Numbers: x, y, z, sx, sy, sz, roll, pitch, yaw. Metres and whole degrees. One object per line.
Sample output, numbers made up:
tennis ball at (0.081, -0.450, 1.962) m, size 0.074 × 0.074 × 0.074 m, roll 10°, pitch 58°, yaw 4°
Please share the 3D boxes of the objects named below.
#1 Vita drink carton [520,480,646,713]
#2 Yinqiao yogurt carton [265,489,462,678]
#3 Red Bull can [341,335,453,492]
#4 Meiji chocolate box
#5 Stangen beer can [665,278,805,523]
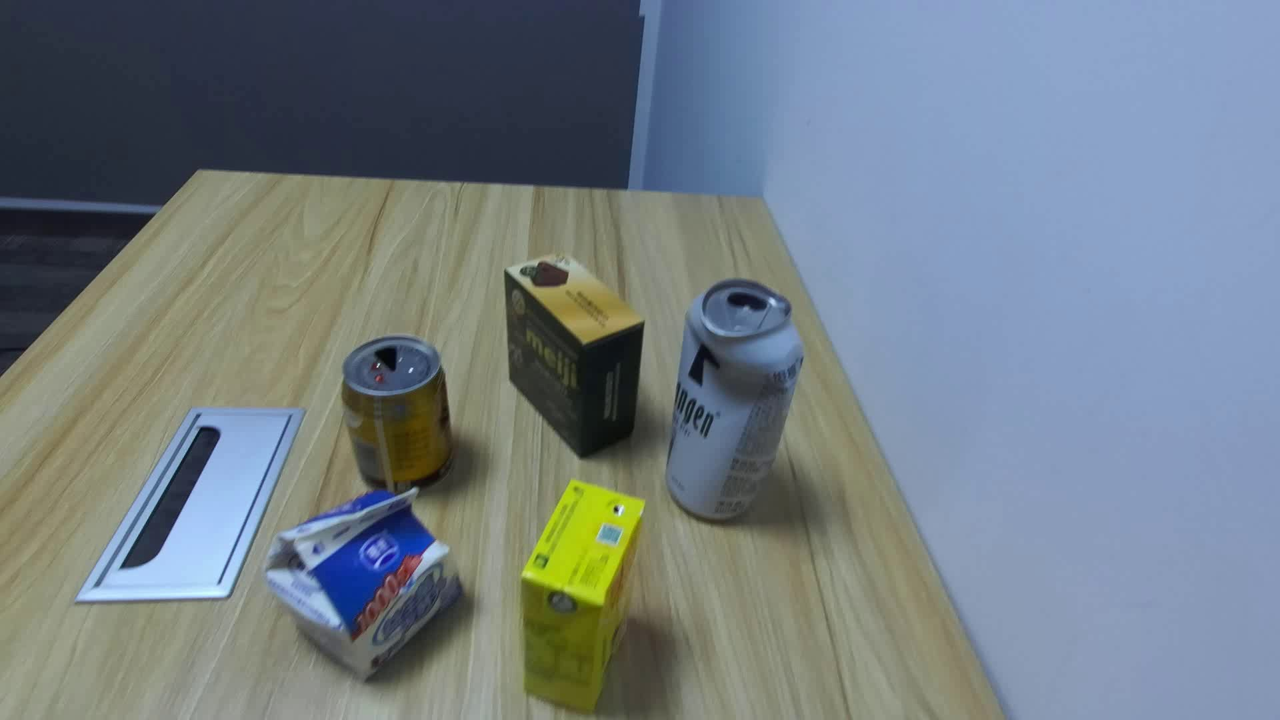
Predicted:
Vita drink carton at (-0.030, 0.126, 0.372) m, size 0.043 × 0.109 × 0.066 m, roll 14°, pitch 39°, yaw 10°
Yinqiao yogurt carton at (-0.153, 0.109, 0.386) m, size 0.077 × 0.093 × 0.083 m, roll 26°, pitch 41°, yaw 24°
Red Bull can at (-0.163, 0.038, 0.479) m, size 0.069 × 0.092 × 0.069 m, roll 5°, pitch 38°, yaw -3°
Meiji chocolate box at (-0.051, -0.005, 0.533) m, size 0.056 × 0.109 × 0.109 m, roll -22°, pitch 46°, yaw -31°
Stangen beer can at (0.056, 0.030, 0.461) m, size 0.077 × 0.162 × 0.066 m, roll 13°, pitch 39°, yaw 9°
